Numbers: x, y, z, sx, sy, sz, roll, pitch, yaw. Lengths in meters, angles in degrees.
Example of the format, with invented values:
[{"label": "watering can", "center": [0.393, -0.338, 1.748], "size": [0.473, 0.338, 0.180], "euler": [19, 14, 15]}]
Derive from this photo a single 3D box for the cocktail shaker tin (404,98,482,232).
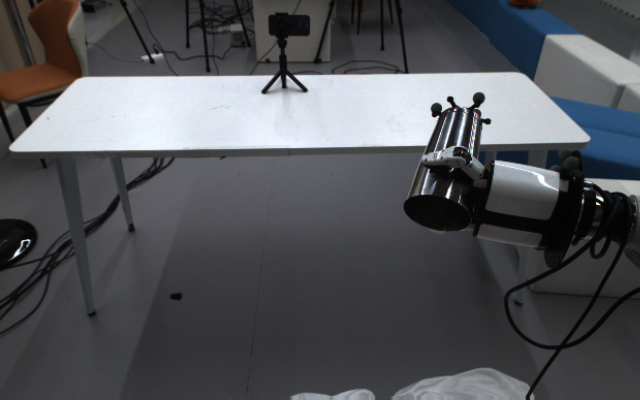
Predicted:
[{"label": "cocktail shaker tin", "center": [0.186, -0.052, 0.697], "size": [0.093, 0.093, 0.170], "euler": [13, 60, 16]}]
